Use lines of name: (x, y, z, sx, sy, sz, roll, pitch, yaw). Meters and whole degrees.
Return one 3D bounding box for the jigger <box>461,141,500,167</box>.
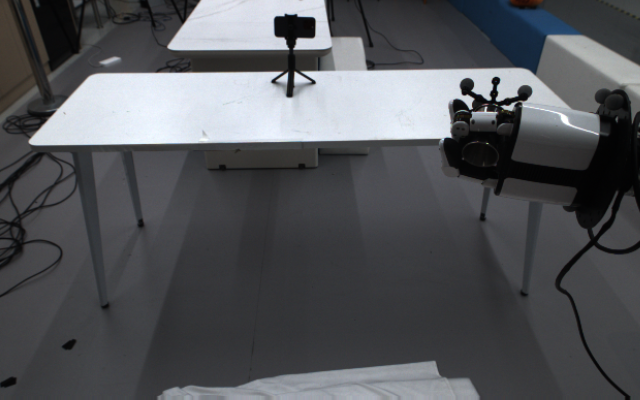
jigger: (0.204, -0.080, 0.591, 0.043, 0.043, 0.071, 13, 58, 15)
